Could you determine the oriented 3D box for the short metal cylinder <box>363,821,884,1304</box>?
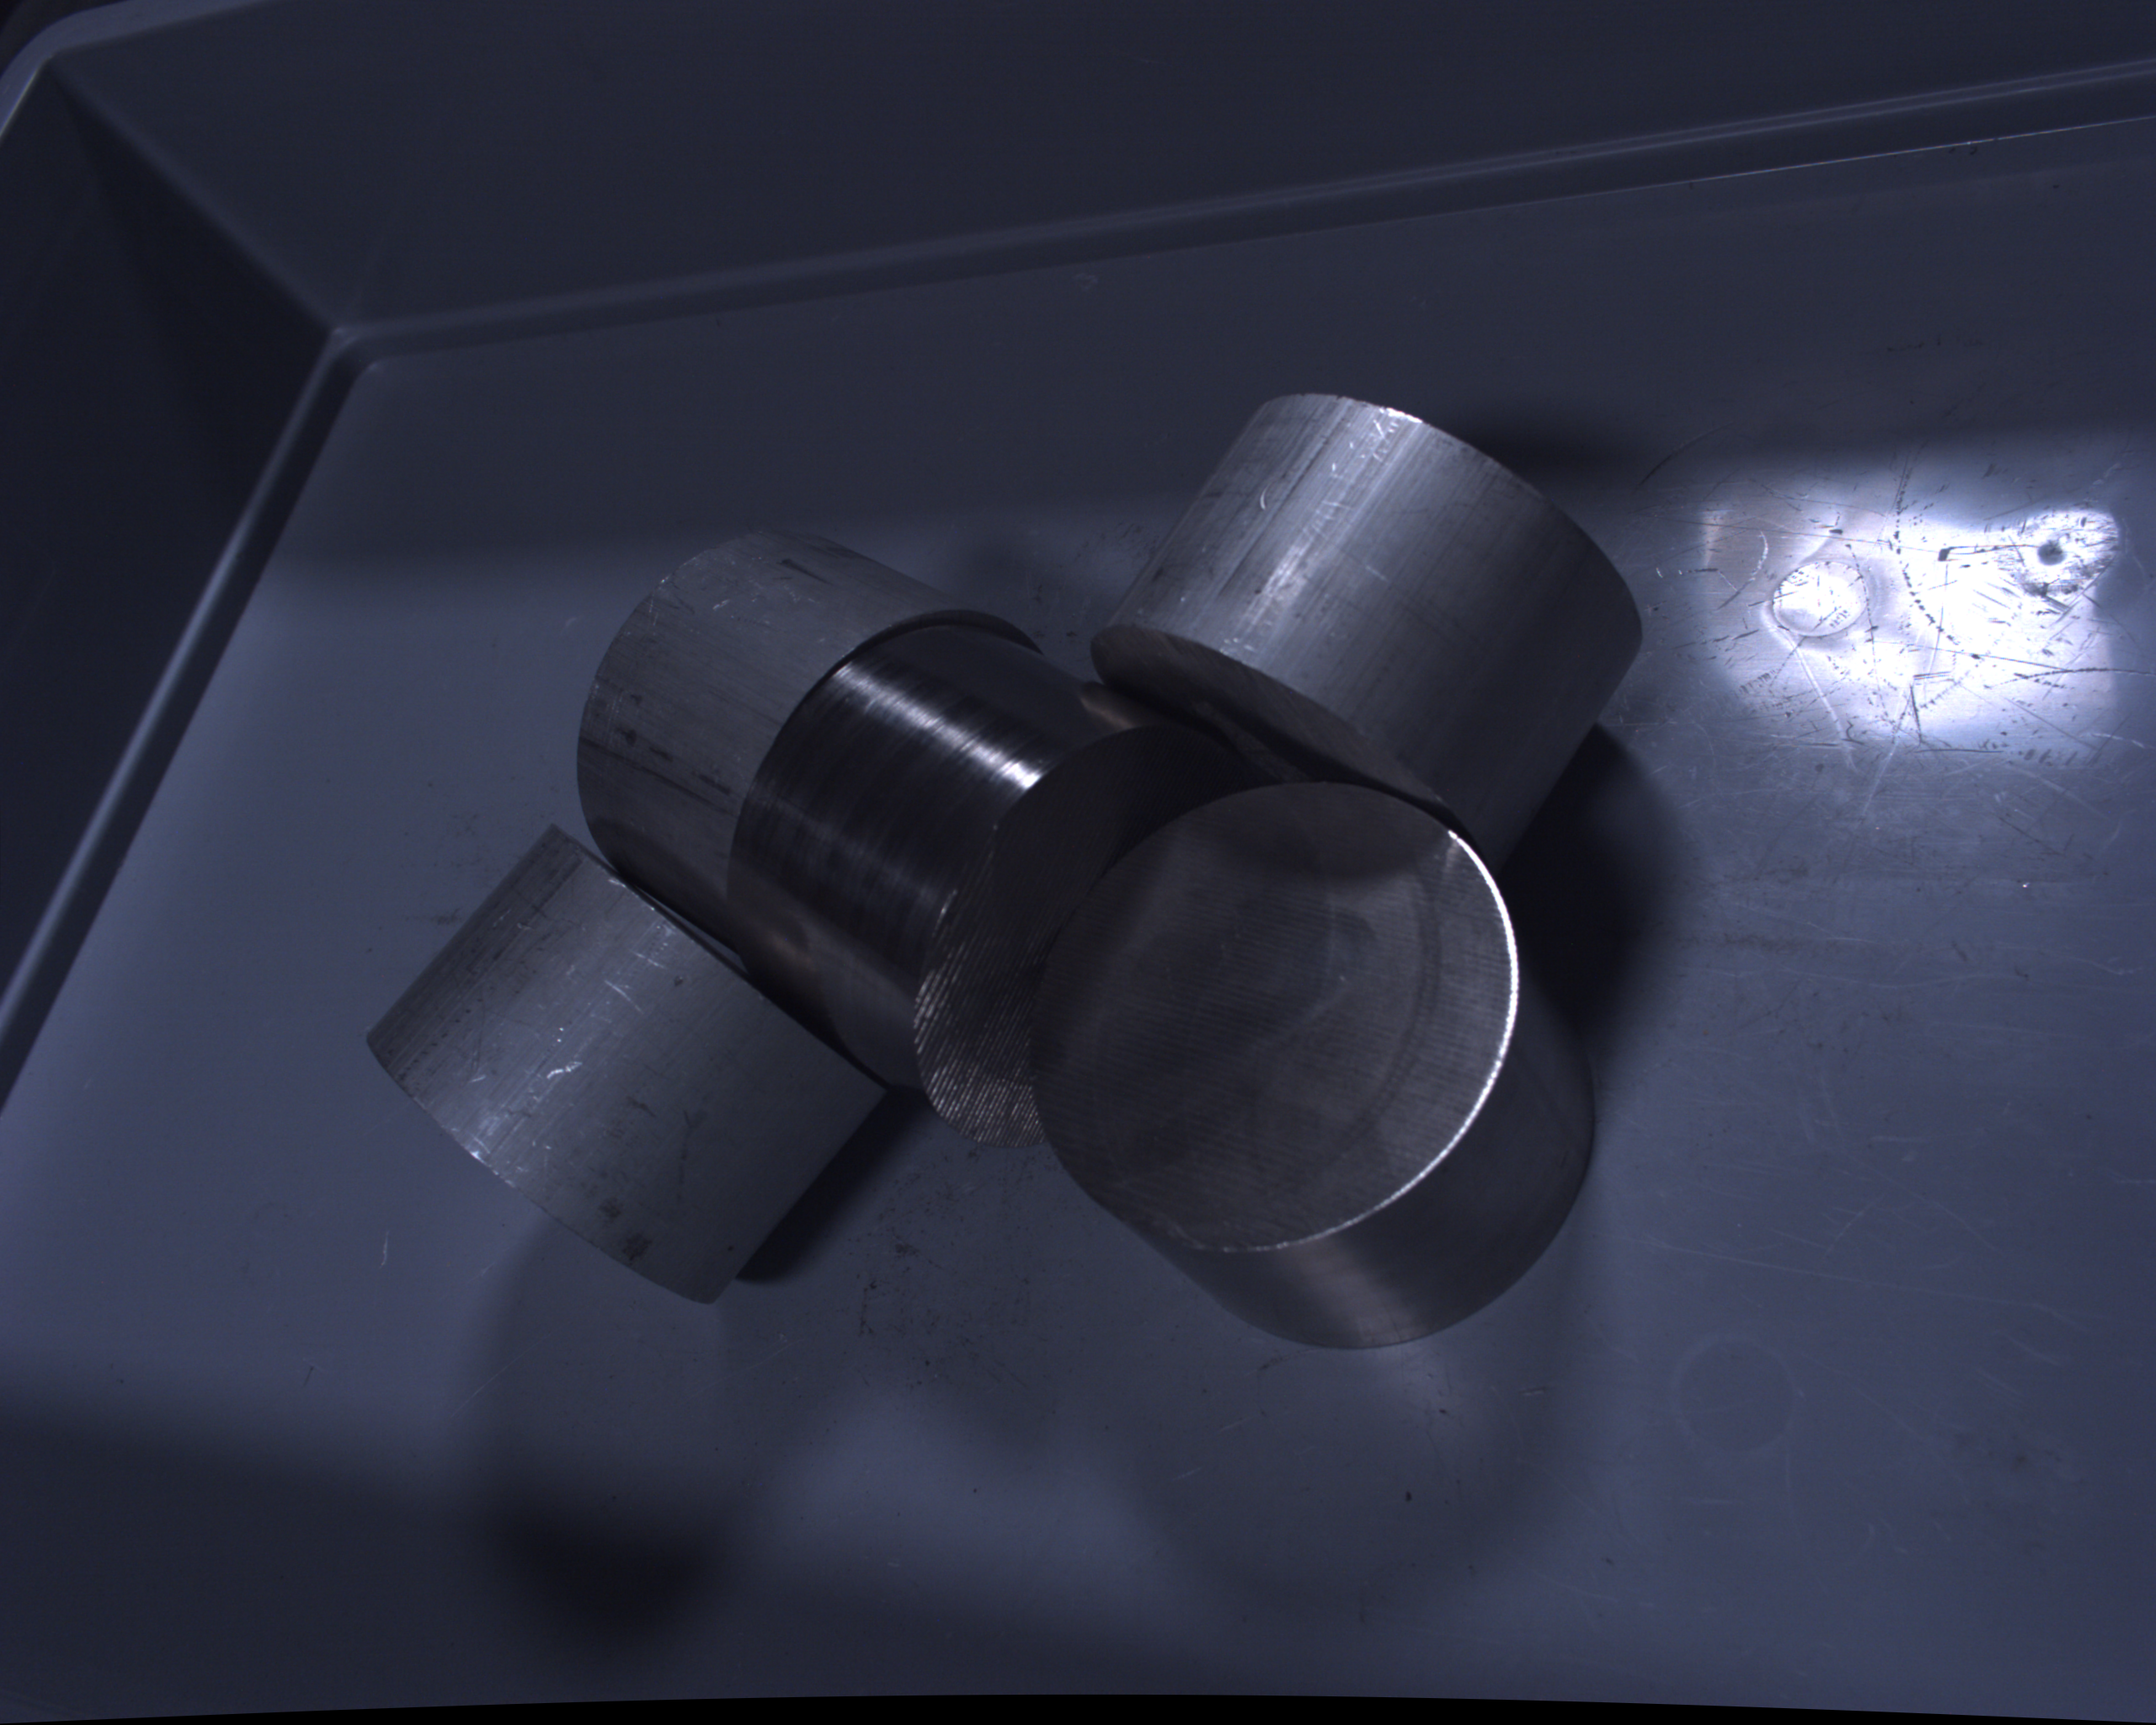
[{"bbox_3d":[-0.083,0.037,0.388,0.080,0.080,0.050,33,80,38],"label":"short metal cylinder"}]

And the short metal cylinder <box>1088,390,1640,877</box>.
[{"bbox_3d":[0.049,-0.036,0.364,0.080,0.080,0.050,26,76,36],"label":"short metal cylinder"}]

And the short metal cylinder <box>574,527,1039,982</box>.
[{"bbox_3d":[-0.049,-0.019,0.404,0.050,0.080,0.080,29,77,37],"label":"short metal cylinder"}]

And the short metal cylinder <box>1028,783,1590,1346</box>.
[{"bbox_3d":[0.039,0.034,0.345,0.080,0.050,0.080,-13,56,20],"label":"short metal cylinder"}]

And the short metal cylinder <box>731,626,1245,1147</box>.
[{"bbox_3d":[-0.014,0.004,0.373,0.050,0.080,0.080,30,78,37],"label":"short metal cylinder"}]
